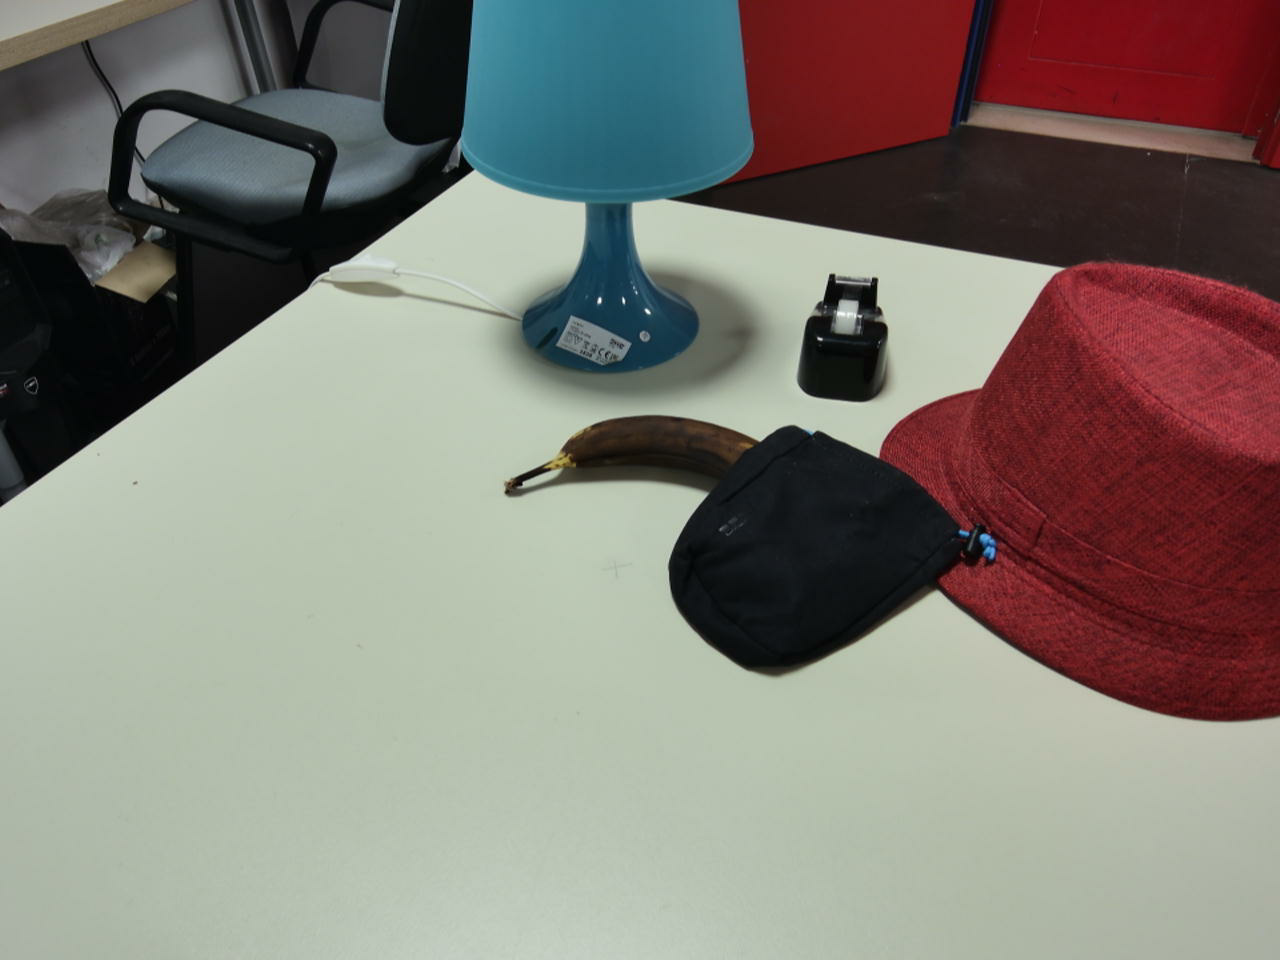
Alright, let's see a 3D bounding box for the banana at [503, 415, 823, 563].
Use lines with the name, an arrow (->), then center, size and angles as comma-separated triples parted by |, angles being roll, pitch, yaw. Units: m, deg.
banana -> 0.020, -0.006, 0.585 | 0.188, 0.034, 0.091 | 16, 42, 20
